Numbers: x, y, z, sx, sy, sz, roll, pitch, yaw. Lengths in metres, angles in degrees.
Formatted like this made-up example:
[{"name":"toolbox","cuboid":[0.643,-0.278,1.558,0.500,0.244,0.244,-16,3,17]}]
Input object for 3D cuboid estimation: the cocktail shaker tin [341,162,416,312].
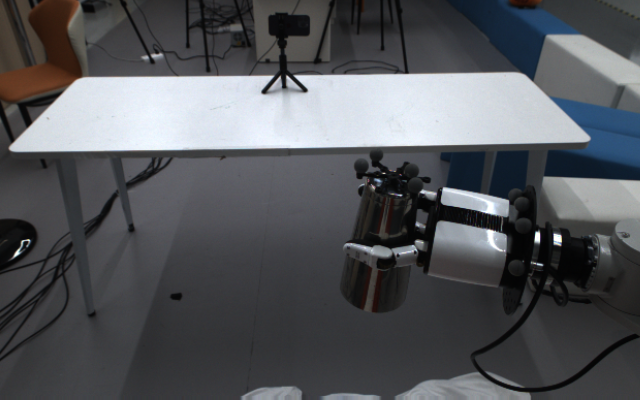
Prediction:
[{"name":"cocktail shaker tin","cuboid":[0.081,0.050,0.625,0.093,0.170,0.093,4,32,-2]}]
